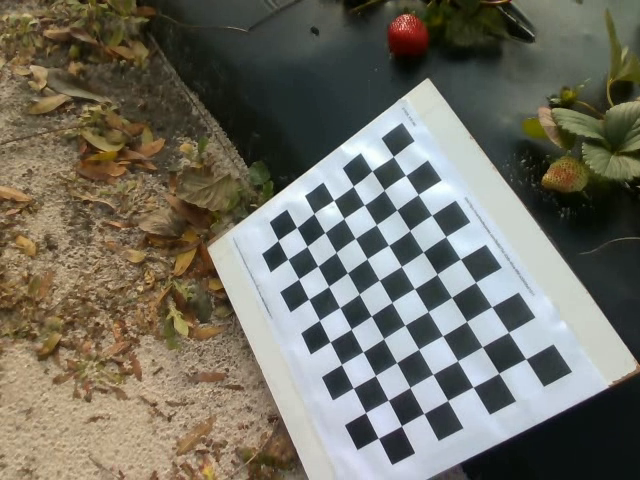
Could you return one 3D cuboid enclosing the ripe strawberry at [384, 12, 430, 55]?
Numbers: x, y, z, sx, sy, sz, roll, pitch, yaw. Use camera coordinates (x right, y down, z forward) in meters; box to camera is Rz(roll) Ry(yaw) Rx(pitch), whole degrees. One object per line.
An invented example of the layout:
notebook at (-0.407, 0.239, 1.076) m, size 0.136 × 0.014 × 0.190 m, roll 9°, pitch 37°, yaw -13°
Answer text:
ripe strawberry at (0.067, -0.145, 0.514) m, size 0.037 × 0.034 × 0.039 m, roll -29°, pitch -7°, yaw 28°
